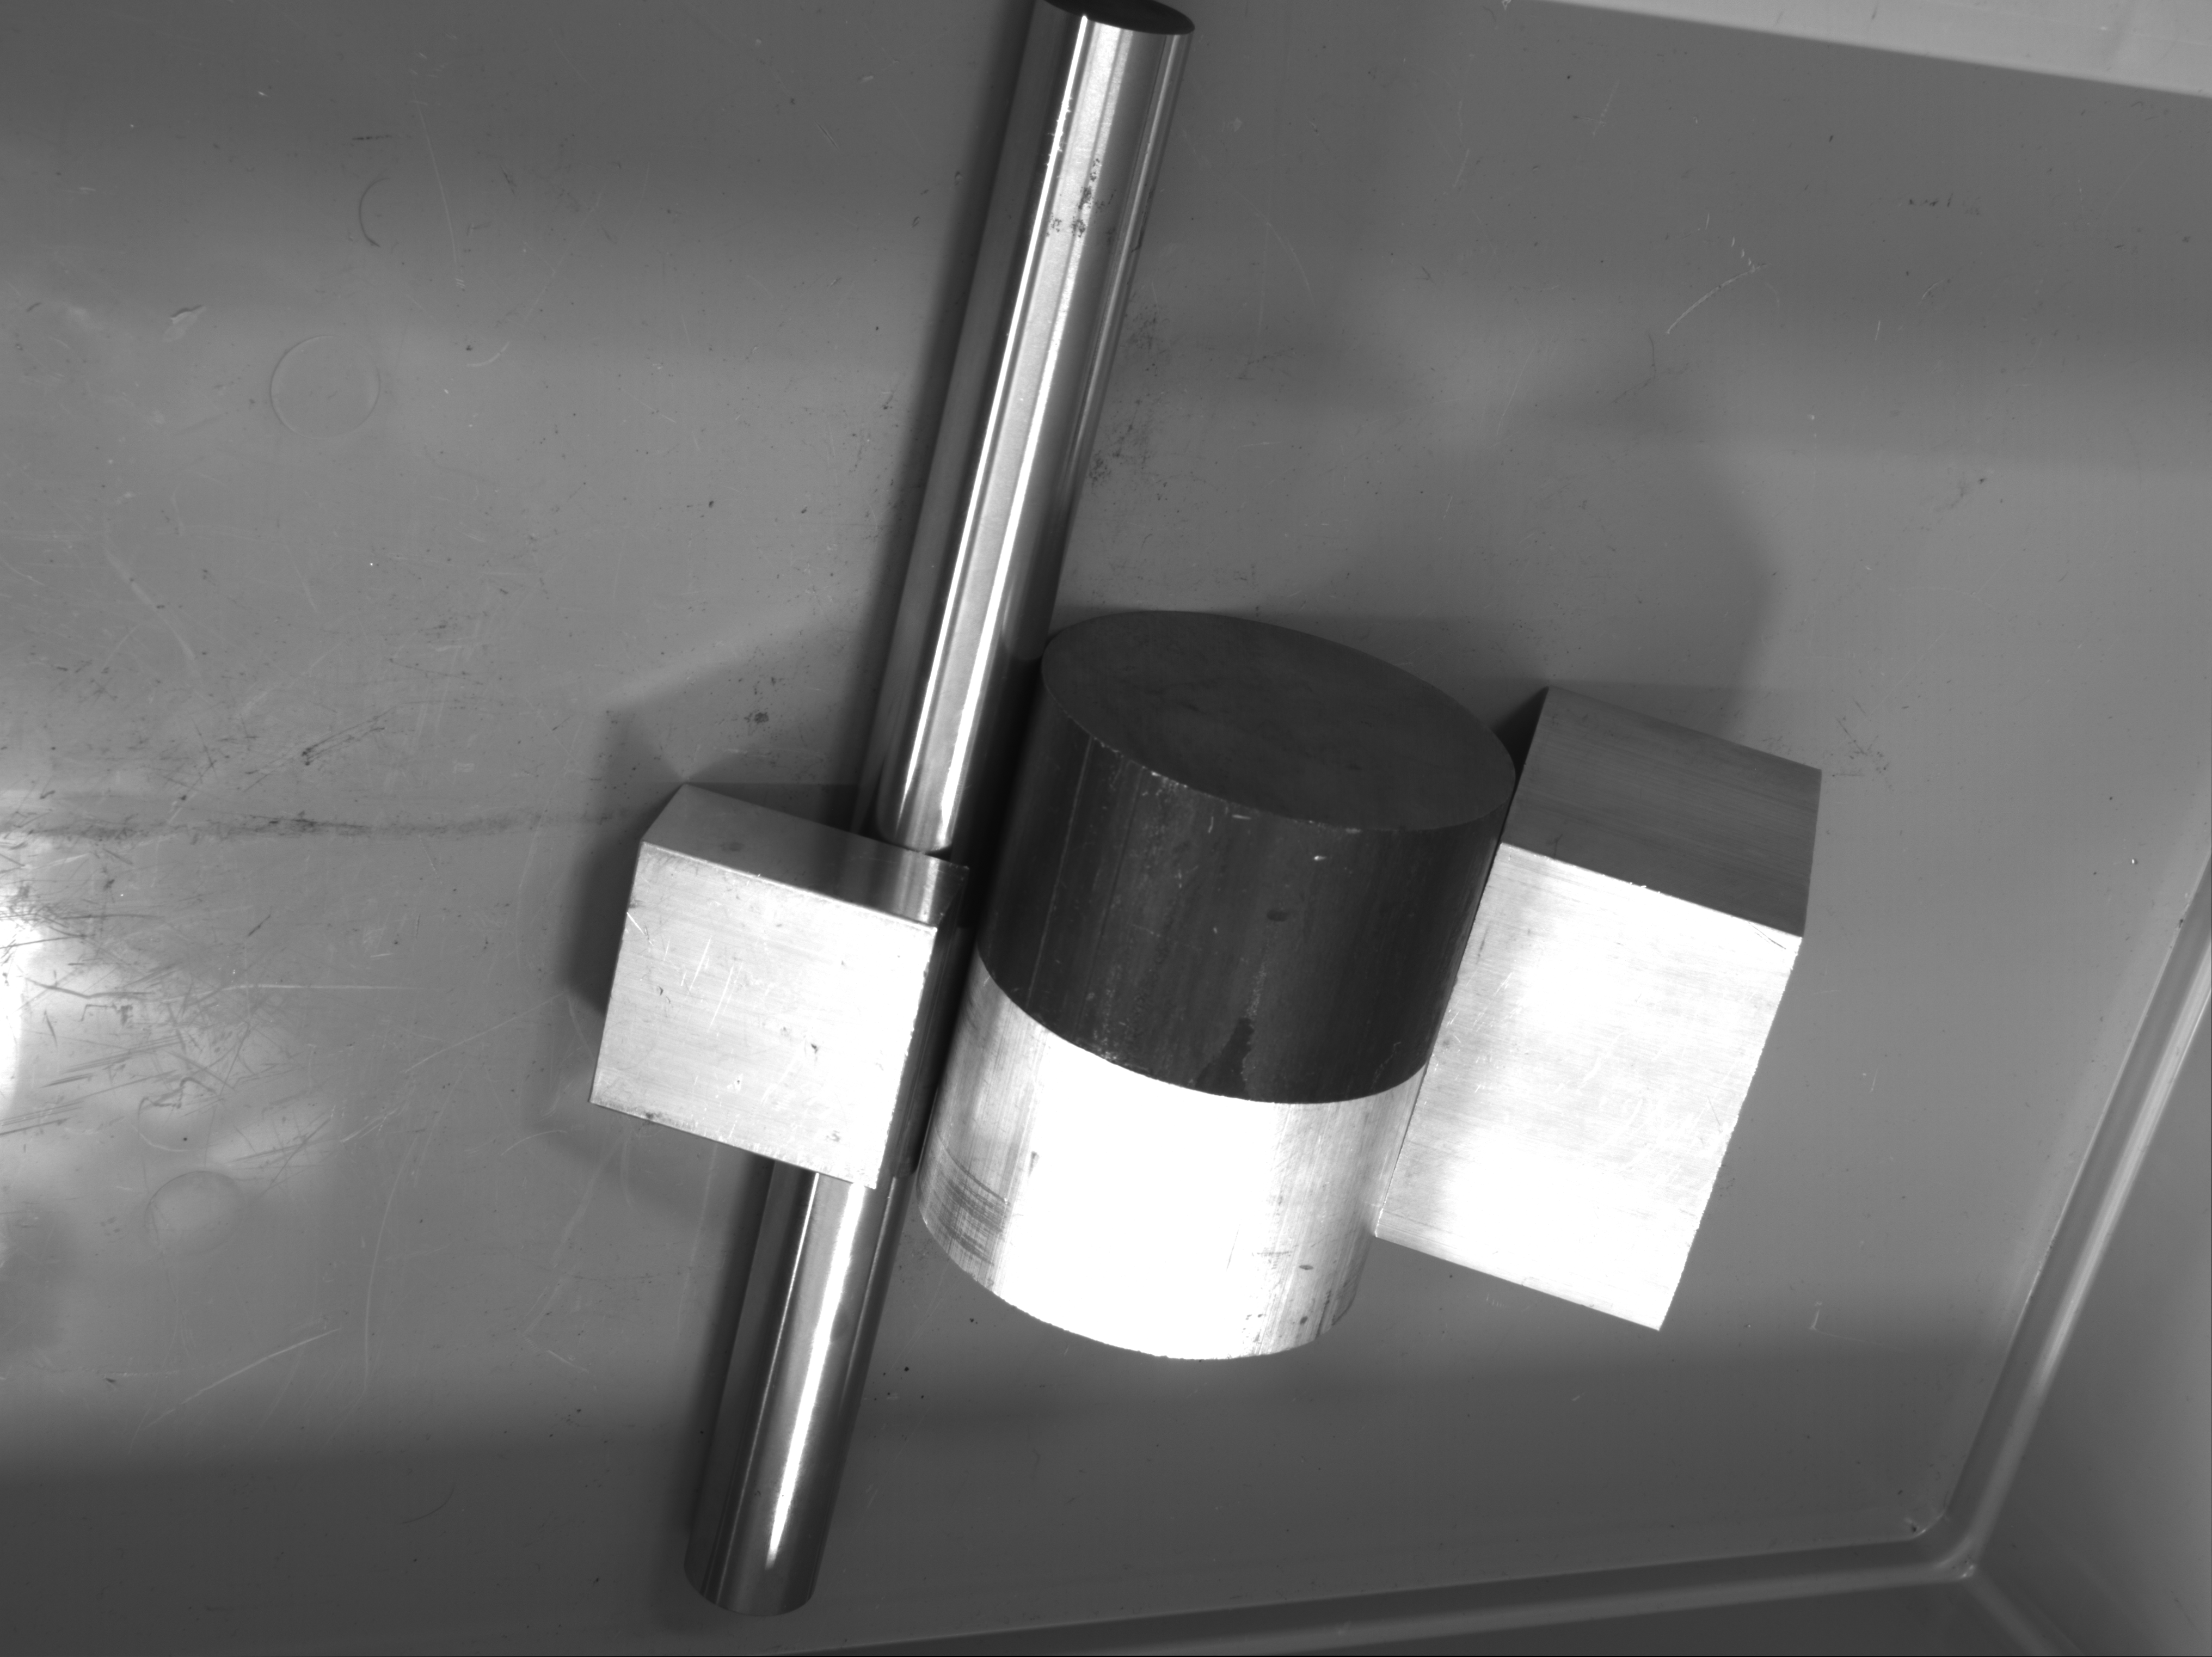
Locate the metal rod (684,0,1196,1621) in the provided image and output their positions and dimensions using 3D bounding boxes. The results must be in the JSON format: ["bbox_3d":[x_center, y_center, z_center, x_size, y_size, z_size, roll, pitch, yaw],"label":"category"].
[{"bbox_3d":[-0.032,0.007,0.622,0.025,0.025,0.300,0,118,-28],"label":"metal rod"}]

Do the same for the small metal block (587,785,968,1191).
[{"bbox_3d":[-0.054,0.026,0.608,0.050,0.025,0.050,15,114,3],"label":"small metal block"}]

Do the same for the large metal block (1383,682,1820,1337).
[{"bbox_3d":[0.089,0.030,0.658,0.050,0.080,0.080,18,115,6],"label":"large metal block"}]

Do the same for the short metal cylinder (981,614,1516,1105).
[{"bbox_3d":[0.023,0.004,0.615,0.080,0.080,0.050,0,118,-28],"label":"short metal cylinder"}]

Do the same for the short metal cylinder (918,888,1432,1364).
[{"bbox_3d":[0.012,0.049,0.636,0.080,0.080,0.050,0,118,-28],"label":"short metal cylinder"}]
